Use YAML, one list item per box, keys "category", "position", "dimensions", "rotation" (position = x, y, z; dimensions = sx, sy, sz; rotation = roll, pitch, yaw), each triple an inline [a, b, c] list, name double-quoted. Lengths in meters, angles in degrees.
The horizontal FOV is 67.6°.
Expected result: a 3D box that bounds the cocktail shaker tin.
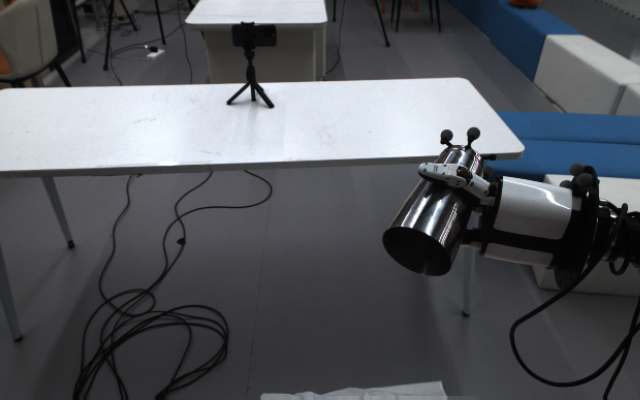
- category: "cocktail shaker tin"
  position: [0.163, 0.001, 0.638]
  dimensions: [0.093, 0.093, 0.170]
  rotation: [19, 55, 22]
